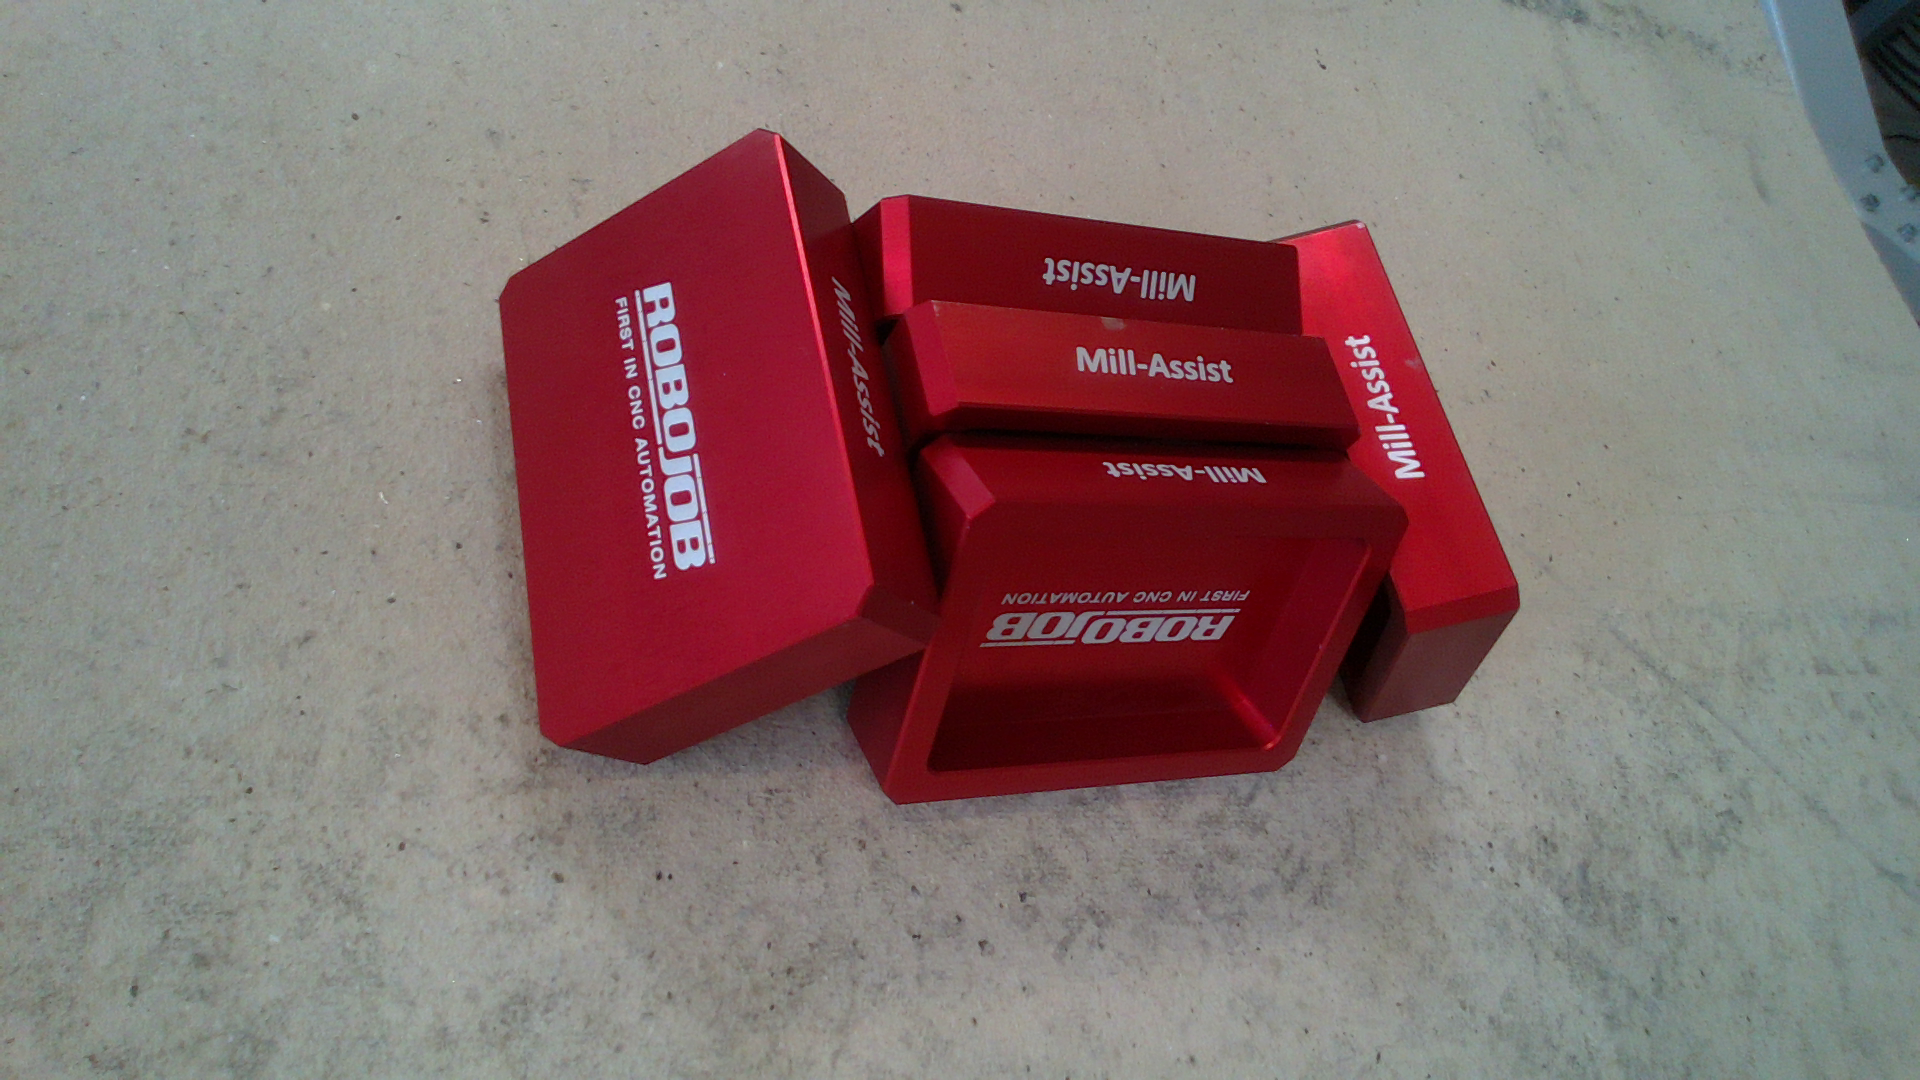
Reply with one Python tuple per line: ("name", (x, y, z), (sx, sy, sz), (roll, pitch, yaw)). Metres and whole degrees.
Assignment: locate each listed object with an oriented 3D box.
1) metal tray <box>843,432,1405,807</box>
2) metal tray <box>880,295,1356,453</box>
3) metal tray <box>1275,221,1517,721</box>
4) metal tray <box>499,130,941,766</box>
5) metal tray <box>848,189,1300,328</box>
("metal tray", (0.043, 0.021, 0.357), (0.130, 0.090, 0.030), (1, 32, -28))
("metal tray", (0.031, -0.023, 0.378), (0.130, 0.090, 0.030), (0, 61, -28))
("metal tray", (0.123, -0.020, 0.425), (0.030, 0.090, 0.130), (-14, 65, 1))
("metal tray", (-0.062, -0.023, 0.330), (0.030, 0.090, 0.130), (32, 39, -57))
("metal tray", (0.020, -0.064, 0.395), (0.130, 0.090, 0.030), (0, 83, -28))
